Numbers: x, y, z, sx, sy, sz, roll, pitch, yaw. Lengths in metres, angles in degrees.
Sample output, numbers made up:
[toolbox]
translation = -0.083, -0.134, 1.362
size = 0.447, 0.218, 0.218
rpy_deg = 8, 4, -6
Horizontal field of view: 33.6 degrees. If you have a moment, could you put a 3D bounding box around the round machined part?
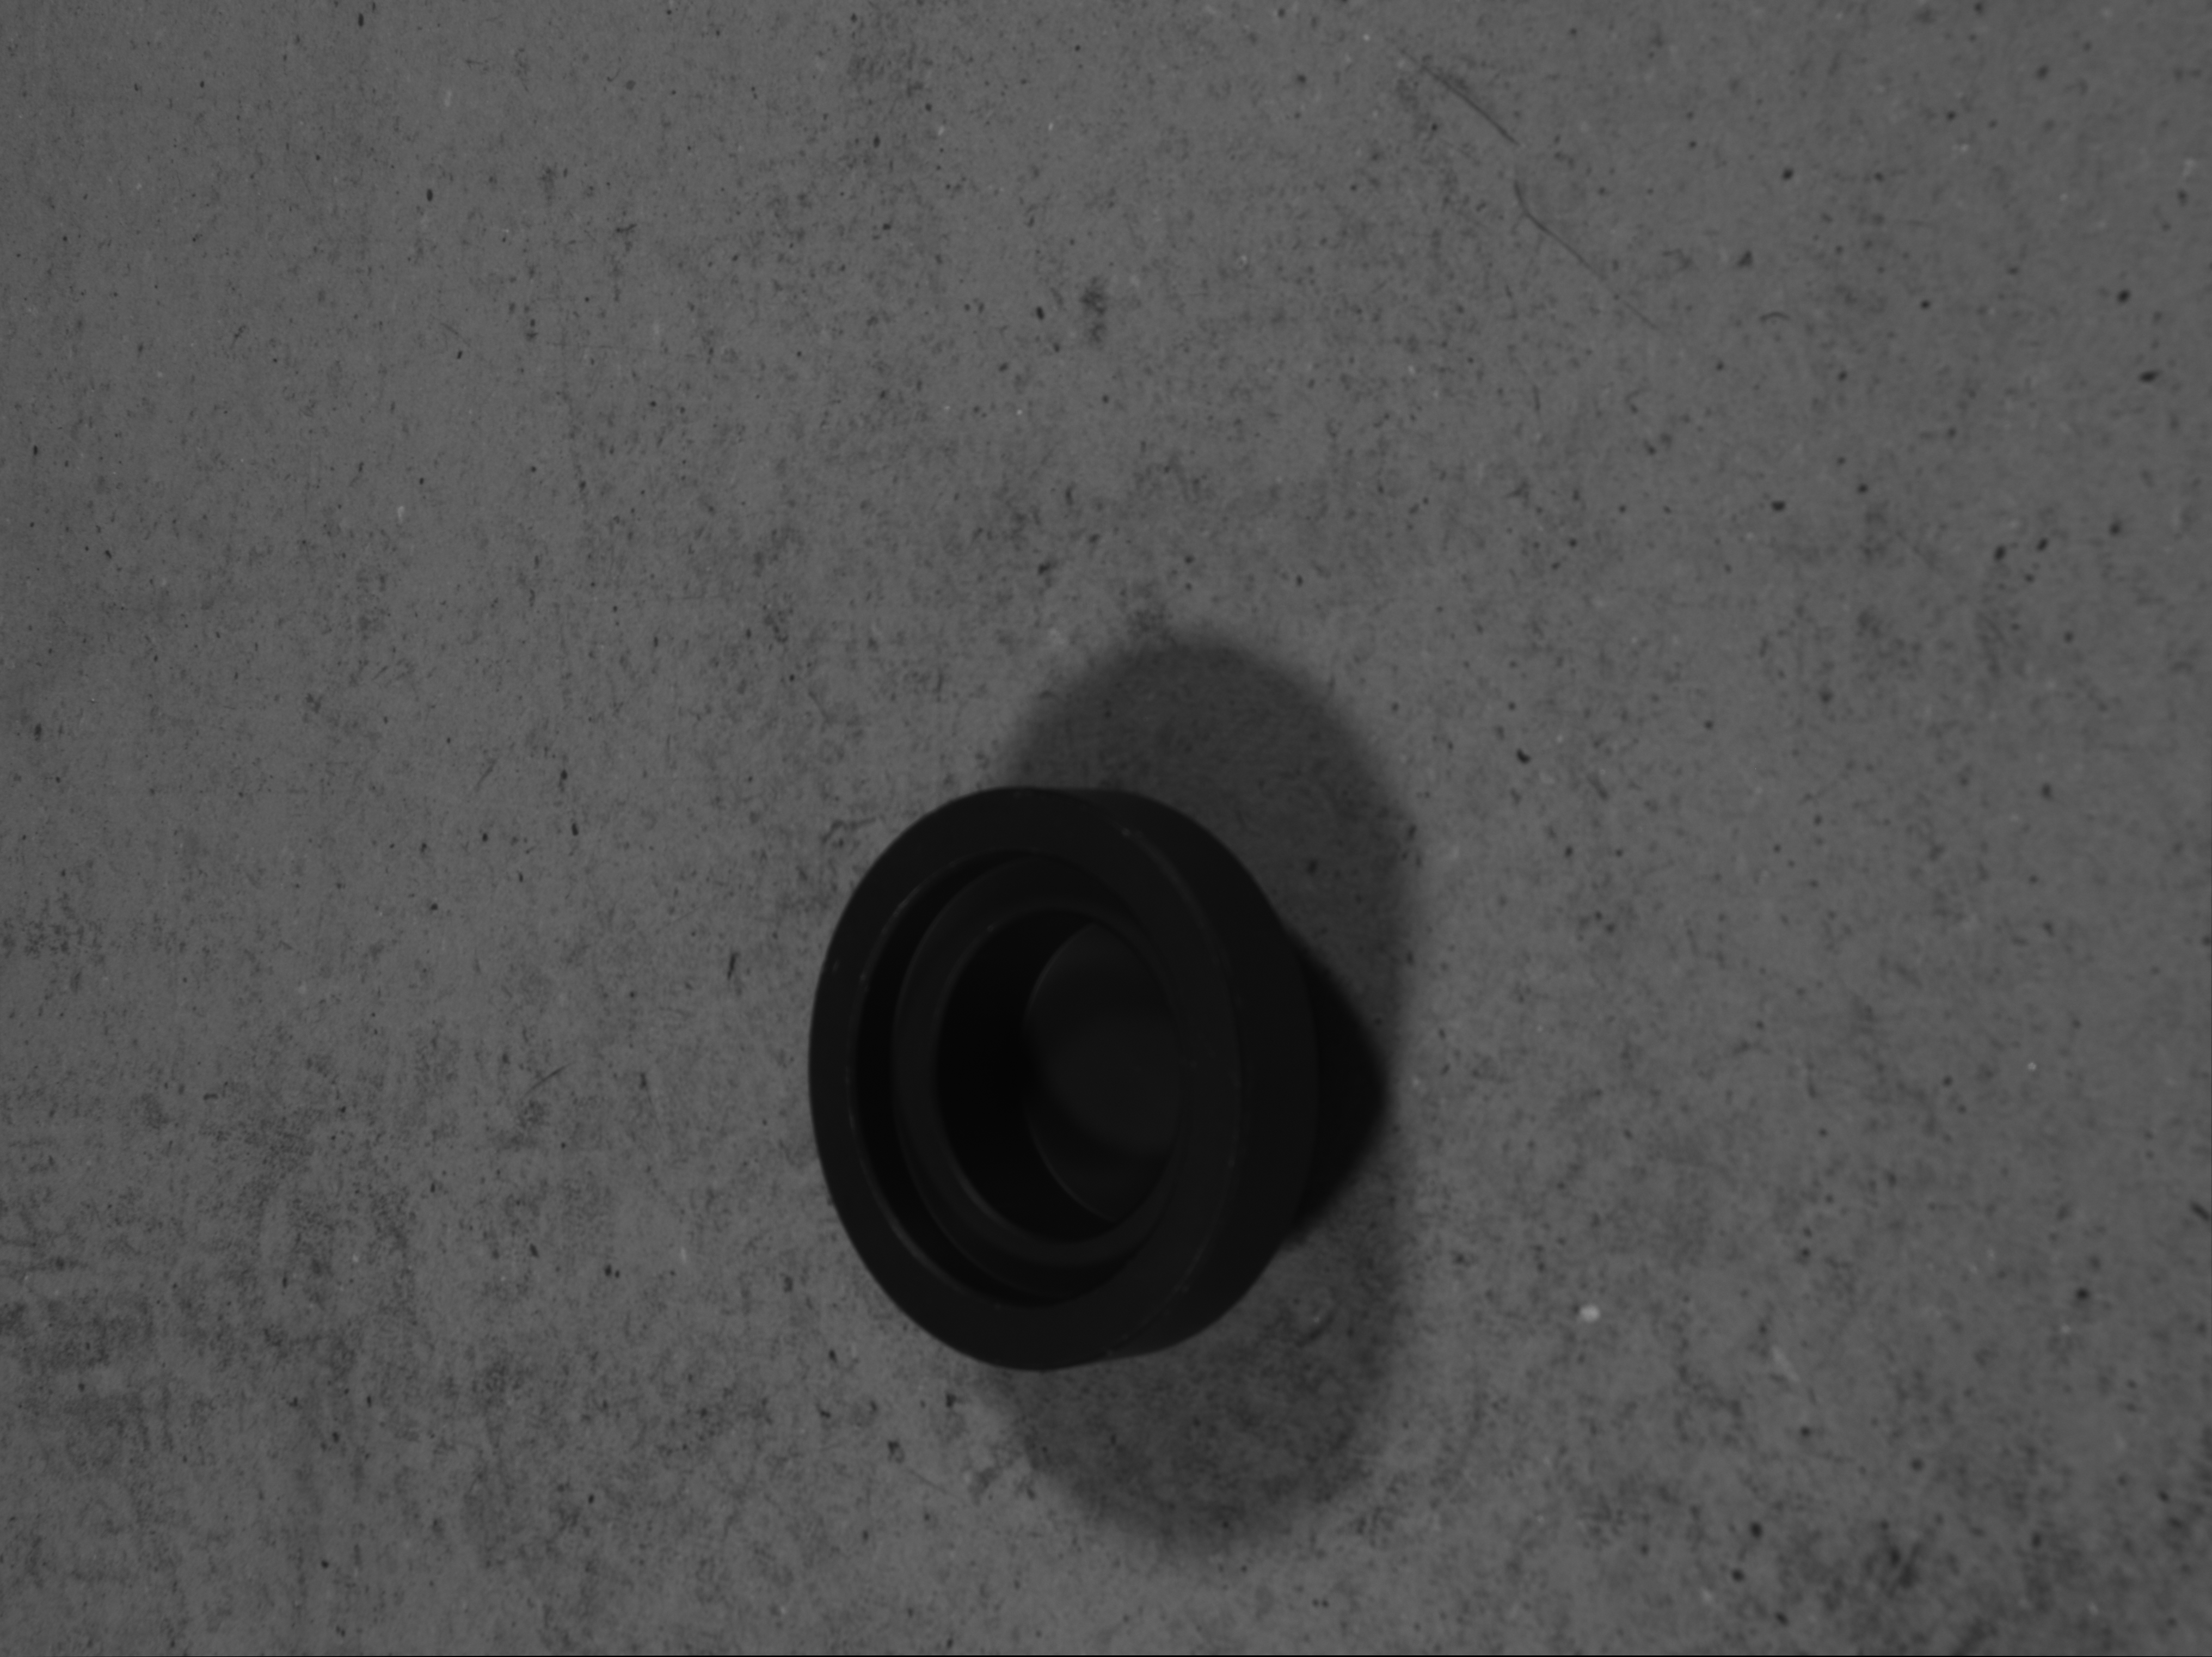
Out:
[round machined part]
translation = -0.007, 0.042, 0.631
size = 0.098, 0.042, 0.098
rpy_deg = 0, 90, 39
